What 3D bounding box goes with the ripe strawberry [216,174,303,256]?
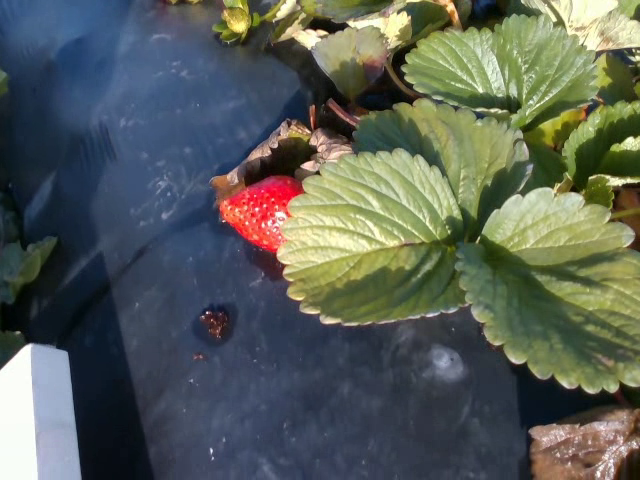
[{"bbox_3d":[-0.029,-0.010,0.258,0.054,0.047,0.038,0,-26,-9],"label":"ripe strawberry"}]
